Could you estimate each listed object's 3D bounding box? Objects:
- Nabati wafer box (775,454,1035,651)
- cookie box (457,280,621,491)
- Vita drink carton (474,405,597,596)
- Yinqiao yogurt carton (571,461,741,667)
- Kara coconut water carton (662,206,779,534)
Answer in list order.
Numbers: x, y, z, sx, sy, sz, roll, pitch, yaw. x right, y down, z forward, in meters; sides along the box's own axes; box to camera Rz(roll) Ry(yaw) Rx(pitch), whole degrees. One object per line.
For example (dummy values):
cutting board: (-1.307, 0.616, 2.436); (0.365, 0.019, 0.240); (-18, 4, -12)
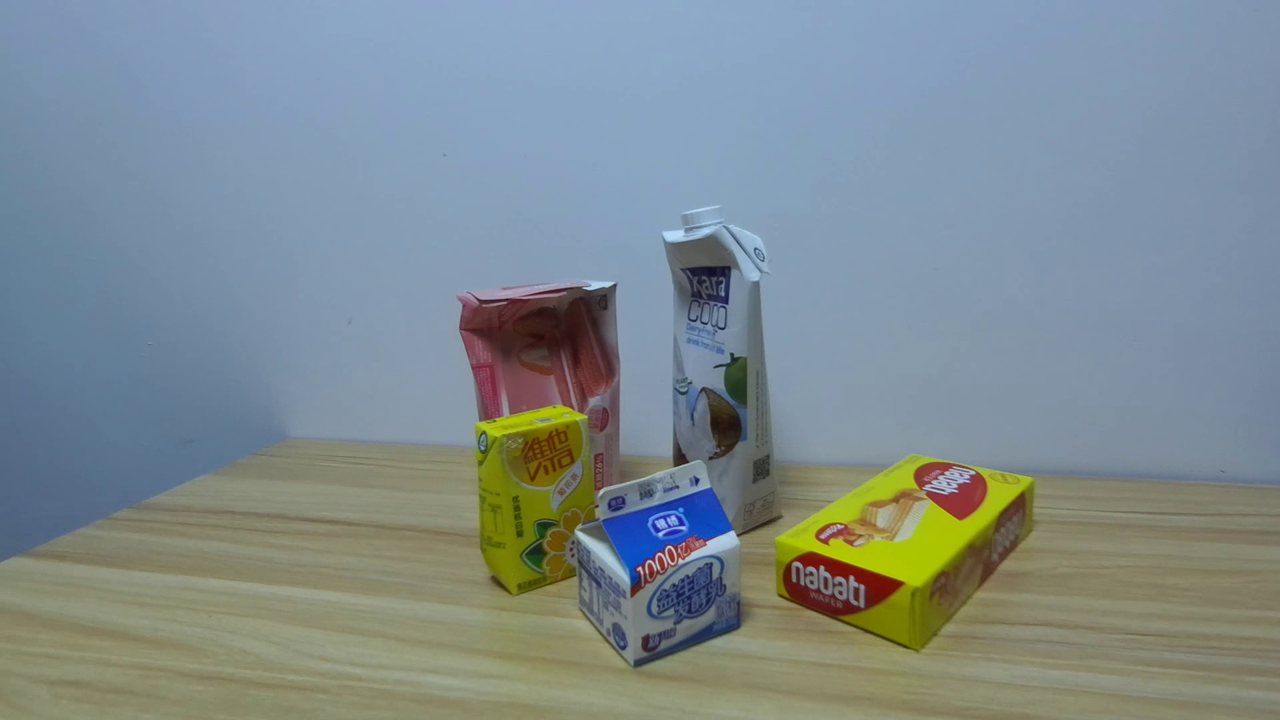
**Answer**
Nabati wafer box: (0.185, 0.116, 0.474); (0.092, 0.042, 0.204); (9, 16, 44)
cookie box: (-0.074, 0.034, 0.562); (0.119, 0.184, 0.055); (-10, 14, -29)
Vita drink carton: (-0.071, 0.091, 0.469); (0.077, 0.109, 0.043); (-11, 14, -31)
Yinqiao yogurt carton: (0.008, 0.108, 0.409); (0.076, 0.092, 0.073); (-11, 15, -27)
Kara coconut water carton: (0.059, 0.007, 0.530); (0.069, 0.238, 0.114); (-12, 16, -33)
